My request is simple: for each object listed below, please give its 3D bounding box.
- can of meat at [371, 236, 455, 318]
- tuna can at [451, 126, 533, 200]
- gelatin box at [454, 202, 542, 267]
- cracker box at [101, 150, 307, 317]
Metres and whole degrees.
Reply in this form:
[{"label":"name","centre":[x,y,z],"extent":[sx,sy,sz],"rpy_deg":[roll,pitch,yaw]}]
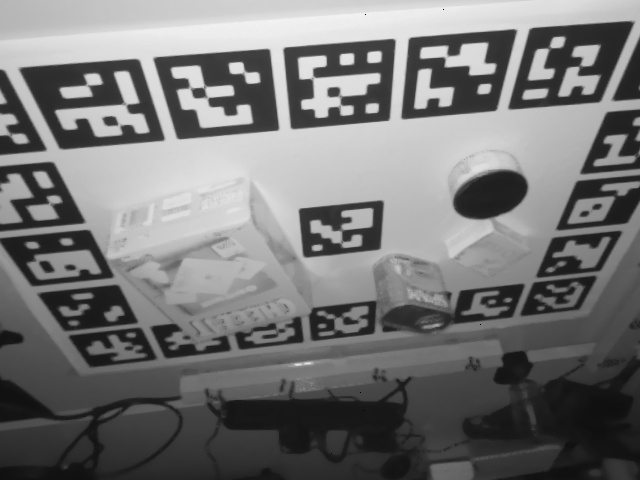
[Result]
[{"label":"can of meat","centre":[0.119,0.047,0.910],"extent":[0.103,0.084,0.057],"rpy_deg":[14,138,-27]},{"label":"tuna can","centre":[0.190,-0.085,0.775],"extent":[0.086,0.034,0.085],"rpy_deg":[-6,139,-4]},{"label":"gelatin box","centre":[0.228,-0.006,0.892],"extent":[0.090,0.030,0.072],"rpy_deg":[26,135,-32]},{"label":"cracker box","centre":[-0.126,0.003,0.816],"extent":[0.163,0.072,0.213],"rpy_deg":[-15,144,12]}]
